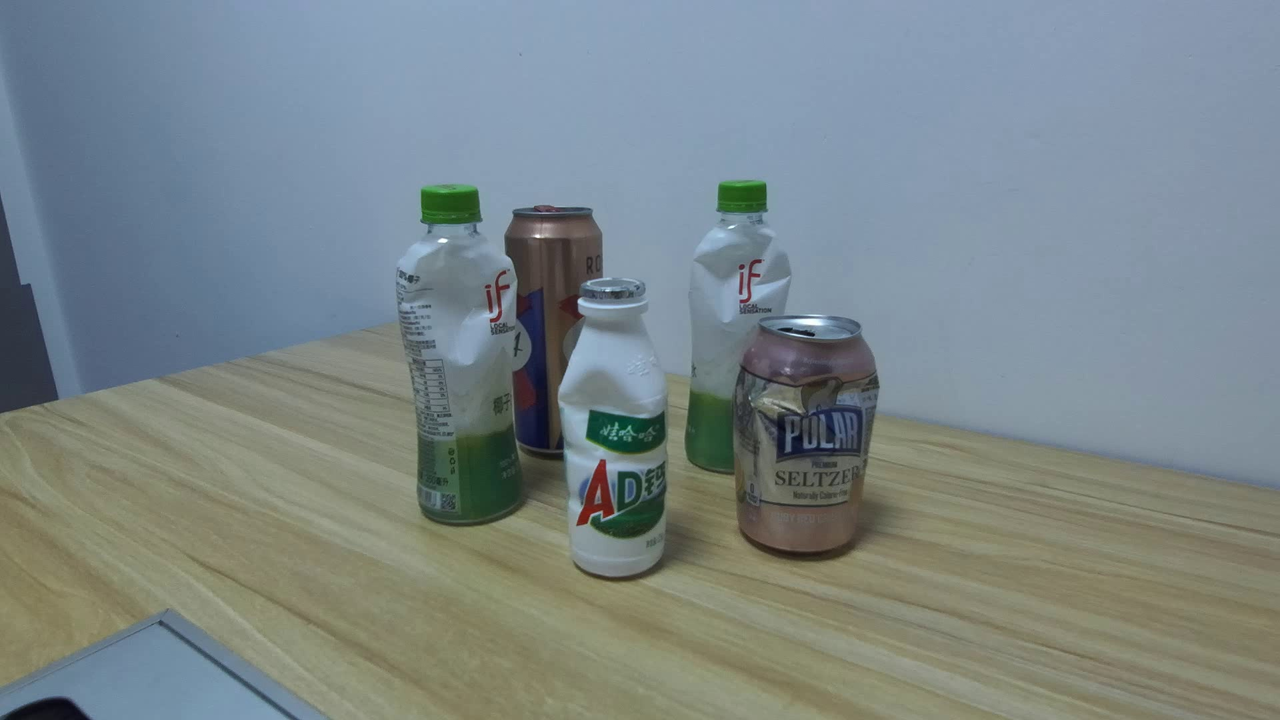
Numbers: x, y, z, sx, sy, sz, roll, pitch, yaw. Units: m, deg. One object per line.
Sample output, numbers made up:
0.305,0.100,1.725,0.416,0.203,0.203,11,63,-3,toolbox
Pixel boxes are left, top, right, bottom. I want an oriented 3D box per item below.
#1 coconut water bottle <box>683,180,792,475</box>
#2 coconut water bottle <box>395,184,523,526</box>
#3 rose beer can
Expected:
0.063,-0.021,0.469,0.067,0.187,0.067,1,16,0,coconut water bottle
-0.103,-0.003,0.410,0.069,0.187,0.069,1,15,0,coconut water bottle
-0.060,-0.020,0.508,0.068,0.169,0.068,1,14,0,rose beer can
